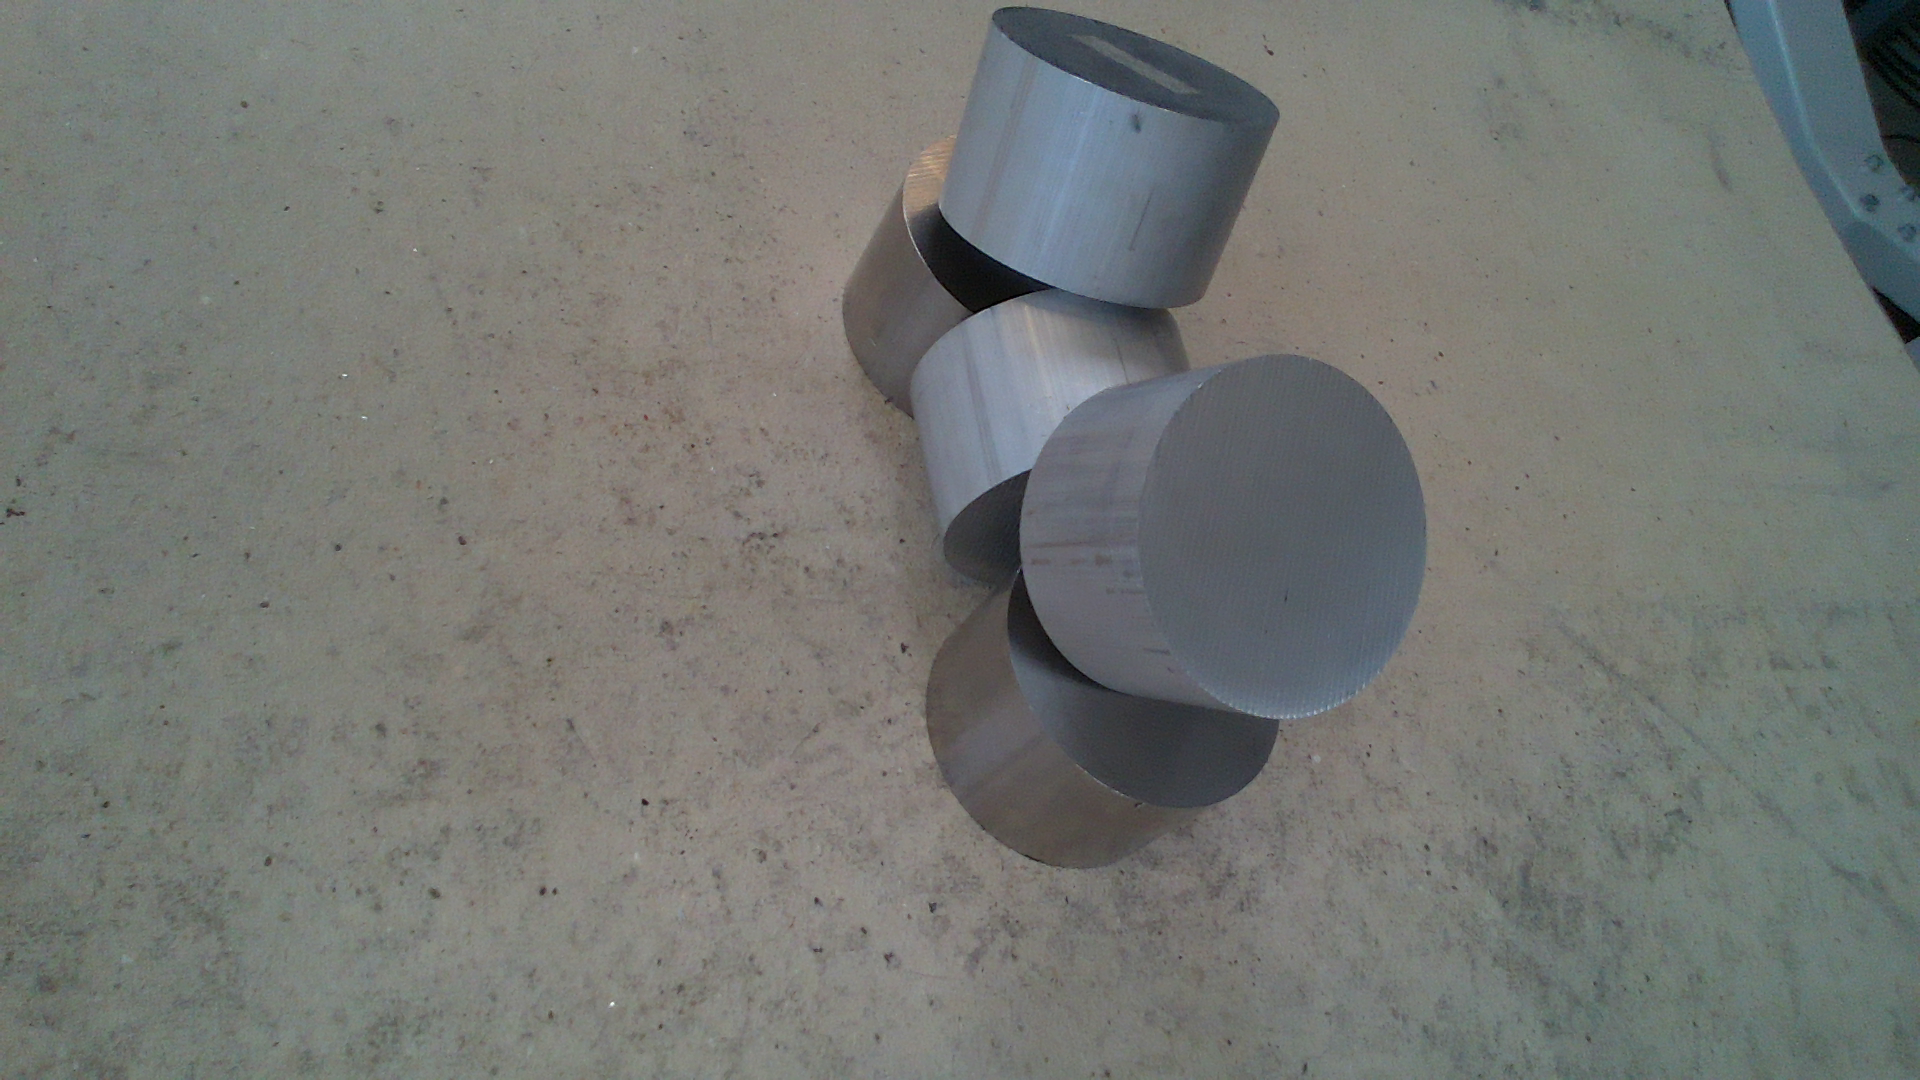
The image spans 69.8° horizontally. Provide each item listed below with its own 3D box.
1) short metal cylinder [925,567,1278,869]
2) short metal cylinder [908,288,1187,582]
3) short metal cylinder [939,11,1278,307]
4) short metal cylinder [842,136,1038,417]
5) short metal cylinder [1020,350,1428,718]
[{"bbox_3d":[0.037,0.042,0.369,0.080,0.050,0.080,14,56,-21],"label":"short metal cylinder"},{"bbox_3d":[0.029,-0.027,0.388,0.080,0.080,0.050,2,61,-27],"label":"short metal cylinder"},{"bbox_3d":[0.039,-0.105,0.376,0.080,0.050,0.080,15,31,-9],"label":"short metal cylinder"},{"bbox_3d":[0.009,-0.078,0.427,0.080,0.050,0.080,14,56,-21],"label":"short metal cylinder"},{"bbox_3d":[0.061,-0.001,0.322,0.080,0.050,0.080,0,89,-27],"label":"short metal cylinder"}]
